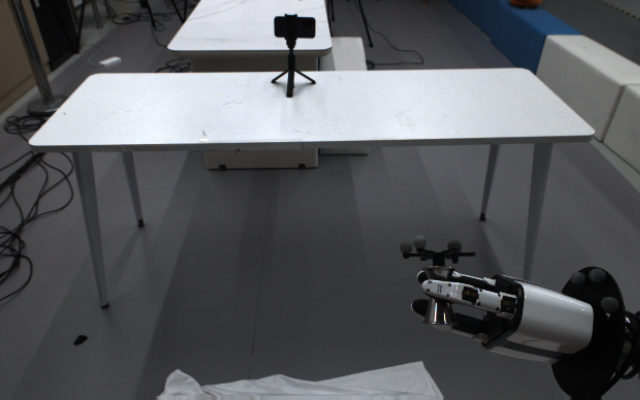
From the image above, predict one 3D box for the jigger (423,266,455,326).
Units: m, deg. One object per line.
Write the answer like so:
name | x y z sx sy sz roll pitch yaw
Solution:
jigger | 0.147 0.116 0.594 0.043 0.043 0.071 2 76 0
